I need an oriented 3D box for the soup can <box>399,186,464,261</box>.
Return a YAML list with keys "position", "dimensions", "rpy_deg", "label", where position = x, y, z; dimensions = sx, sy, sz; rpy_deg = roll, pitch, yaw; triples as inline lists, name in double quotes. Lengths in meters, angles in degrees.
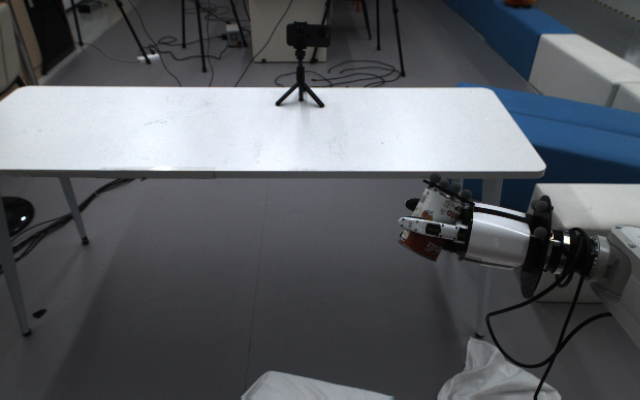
- position: [0.178, 0.036, 0.766]
  dimensions: [0.067, 0.101, 0.067]
  rpy_deg: [26, 5, -2]
  label: "soup can"
